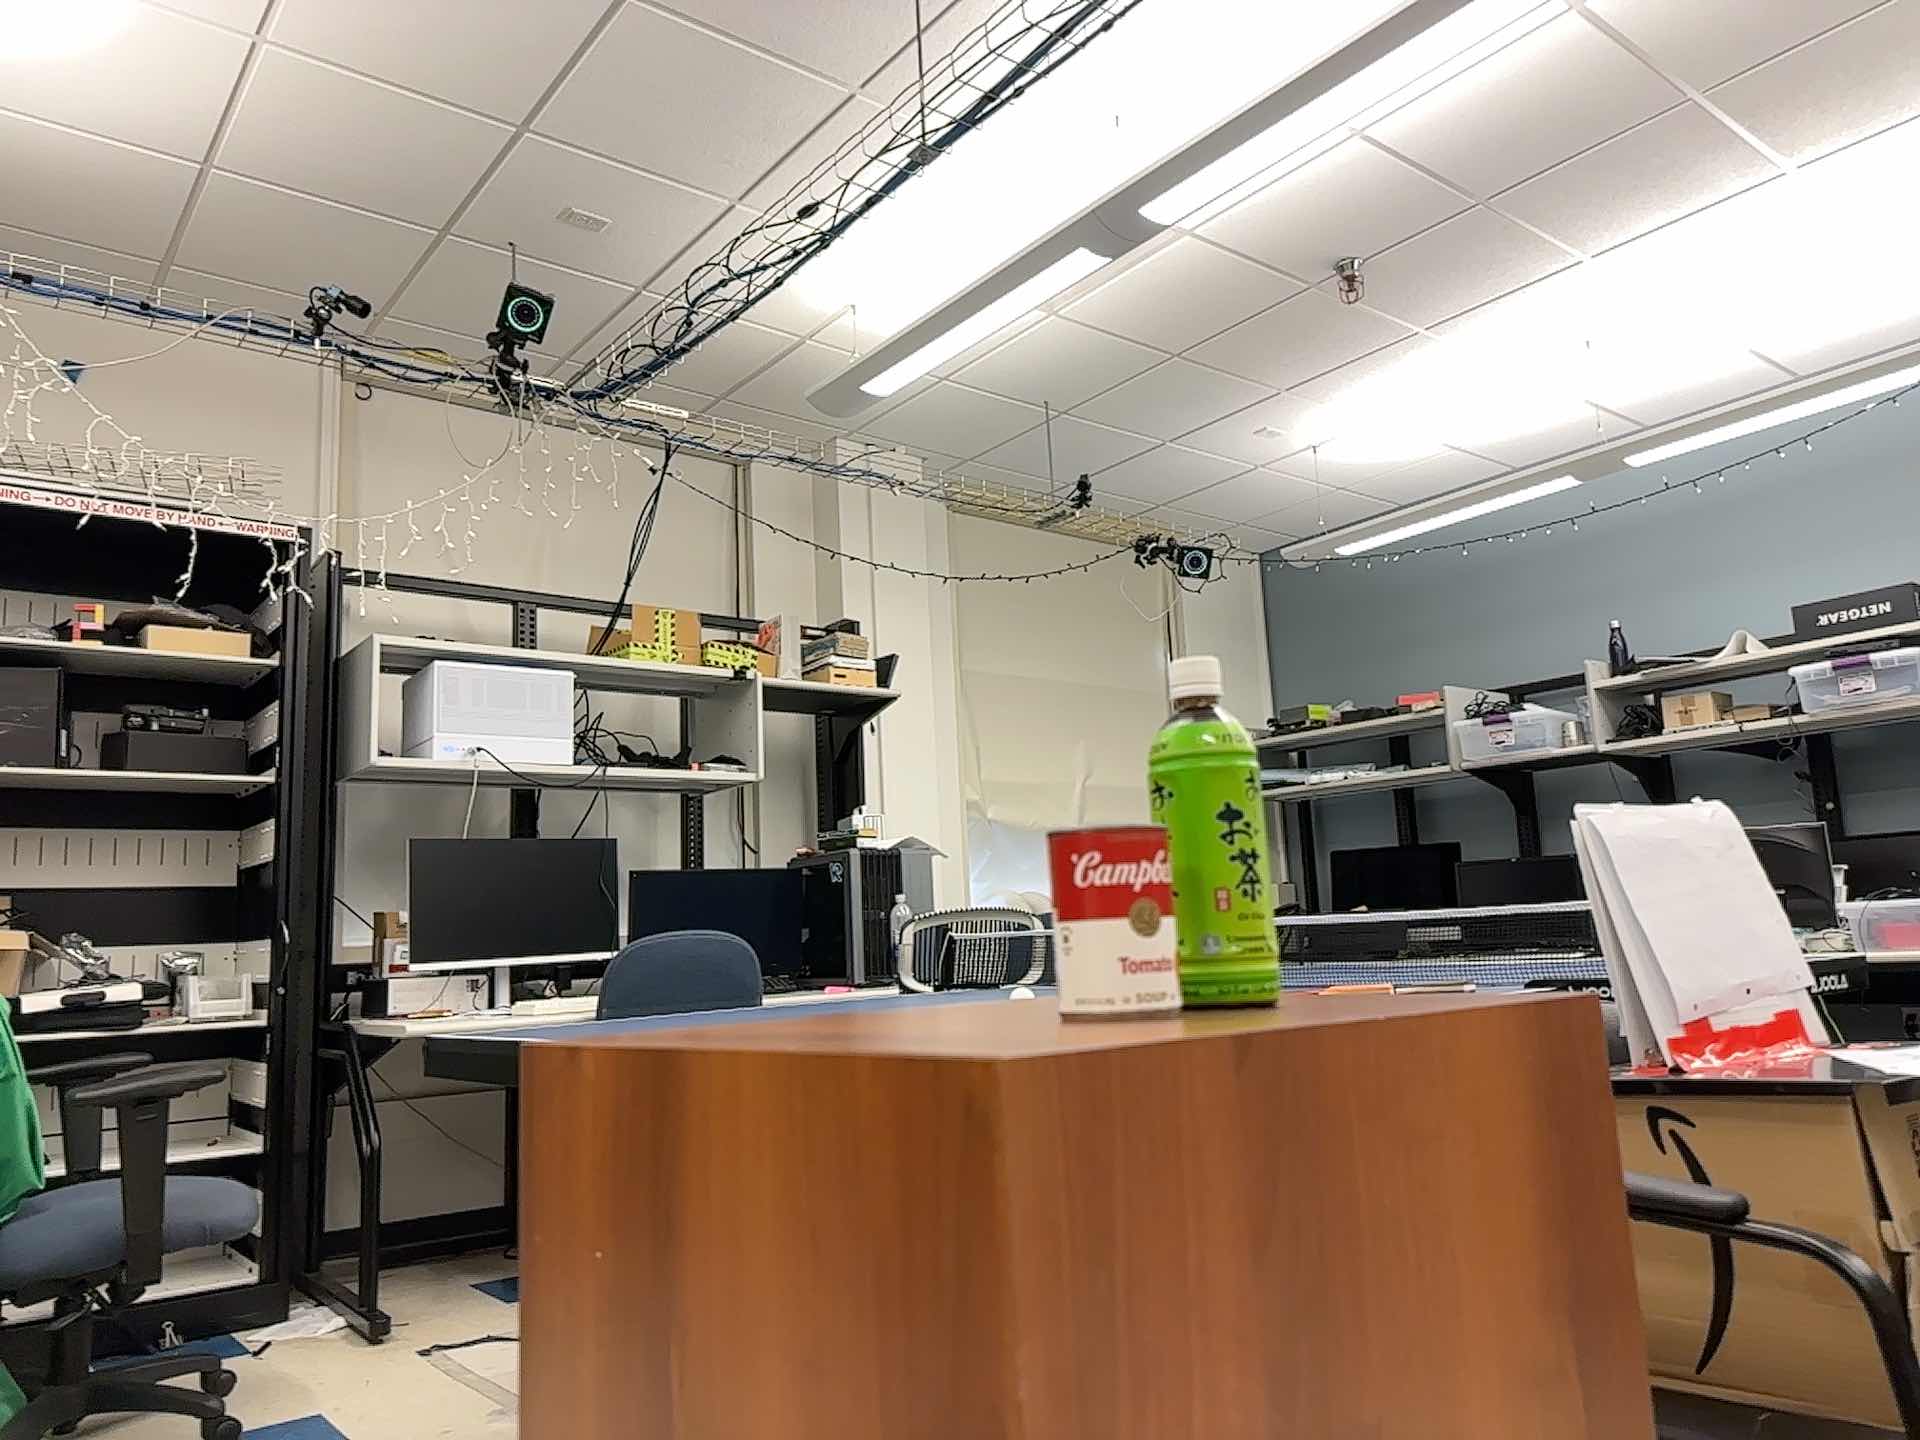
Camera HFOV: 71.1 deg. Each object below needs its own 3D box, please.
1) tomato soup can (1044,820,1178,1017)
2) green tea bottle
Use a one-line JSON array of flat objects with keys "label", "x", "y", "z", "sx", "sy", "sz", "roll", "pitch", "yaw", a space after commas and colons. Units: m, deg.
[{"label": "tomato soup can", "x": 0.081, "y": 0.107, "z": 0.729, "sx": 0.067, "sy": 0.102, "sz": 0.067, "roll": -2, "pitch": -9, "yaw": 0}, {"label": "green tea bottle", "x": 0.146, "y": 0.067, "z": 0.807, "sx": 0.073, "sy": 0.212, "sz": 0.073, "roll": -3, "pitch": -7, "yaw": 0}]
